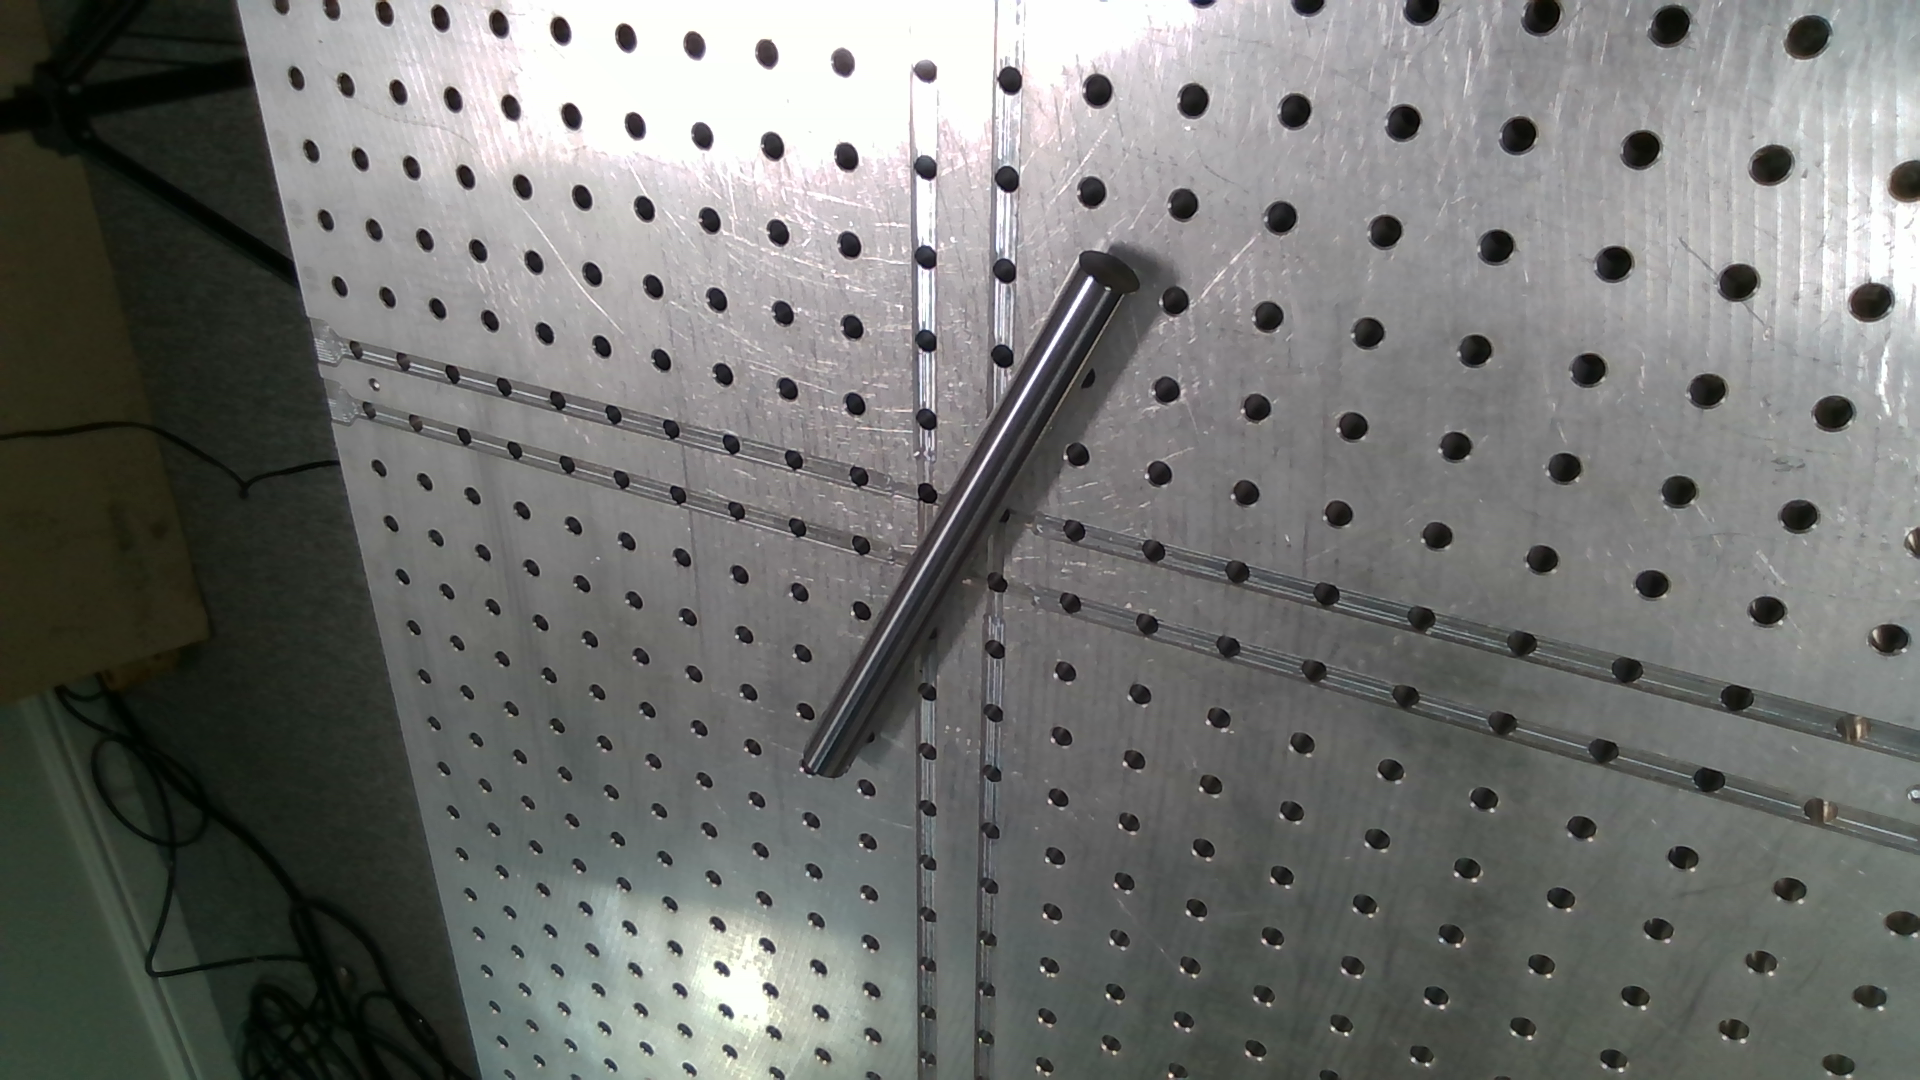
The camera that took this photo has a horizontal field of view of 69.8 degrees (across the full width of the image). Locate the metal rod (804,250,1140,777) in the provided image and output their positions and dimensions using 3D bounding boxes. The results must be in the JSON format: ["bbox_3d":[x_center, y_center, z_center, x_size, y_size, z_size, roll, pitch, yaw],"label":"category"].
[{"bbox_3d":[-0.006,0.005,0.590,0.025,0.025,0.301,37,129,9],"label":"metal rod"}]
